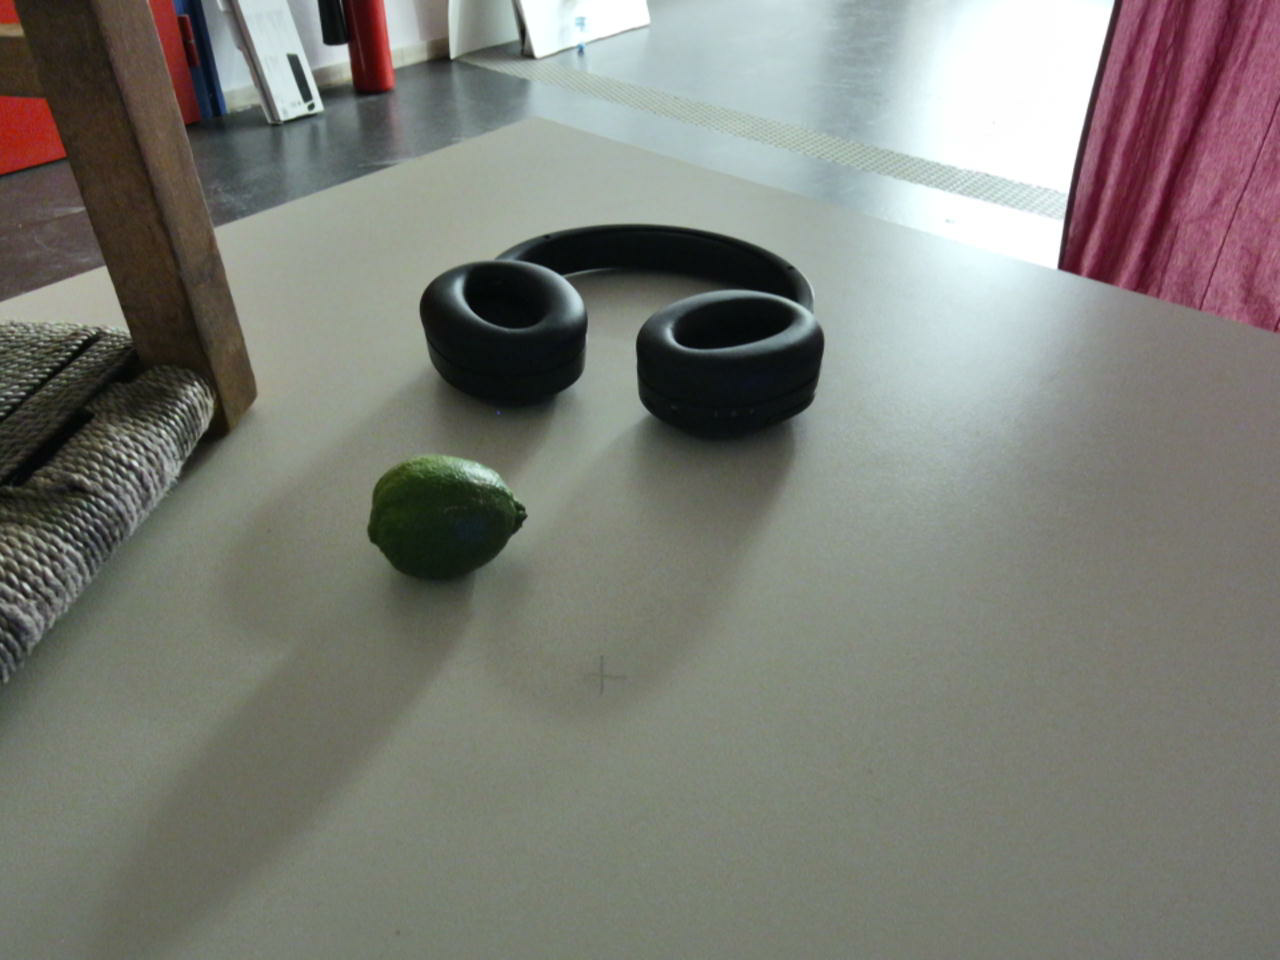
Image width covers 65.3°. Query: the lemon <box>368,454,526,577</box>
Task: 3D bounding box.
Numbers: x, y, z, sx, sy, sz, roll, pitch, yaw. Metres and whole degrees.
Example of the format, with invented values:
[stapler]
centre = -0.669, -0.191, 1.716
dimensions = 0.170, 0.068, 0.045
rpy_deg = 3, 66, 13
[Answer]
[lemon]
centre = -0.081, 0.013, 0.406
dimensions = 0.054, 0.051, 0.057
rpy_deg = 22, 40, 27
